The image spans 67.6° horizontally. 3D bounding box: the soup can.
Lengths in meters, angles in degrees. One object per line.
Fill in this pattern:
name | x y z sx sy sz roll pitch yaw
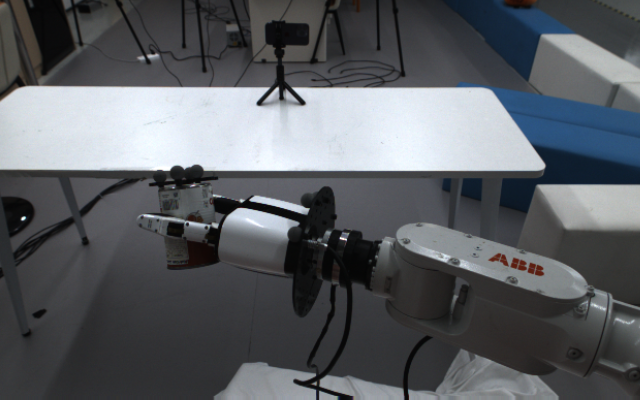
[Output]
soup can | -0.163 0.033 0.614 0.067 0.101 0.067 -7 2 0
